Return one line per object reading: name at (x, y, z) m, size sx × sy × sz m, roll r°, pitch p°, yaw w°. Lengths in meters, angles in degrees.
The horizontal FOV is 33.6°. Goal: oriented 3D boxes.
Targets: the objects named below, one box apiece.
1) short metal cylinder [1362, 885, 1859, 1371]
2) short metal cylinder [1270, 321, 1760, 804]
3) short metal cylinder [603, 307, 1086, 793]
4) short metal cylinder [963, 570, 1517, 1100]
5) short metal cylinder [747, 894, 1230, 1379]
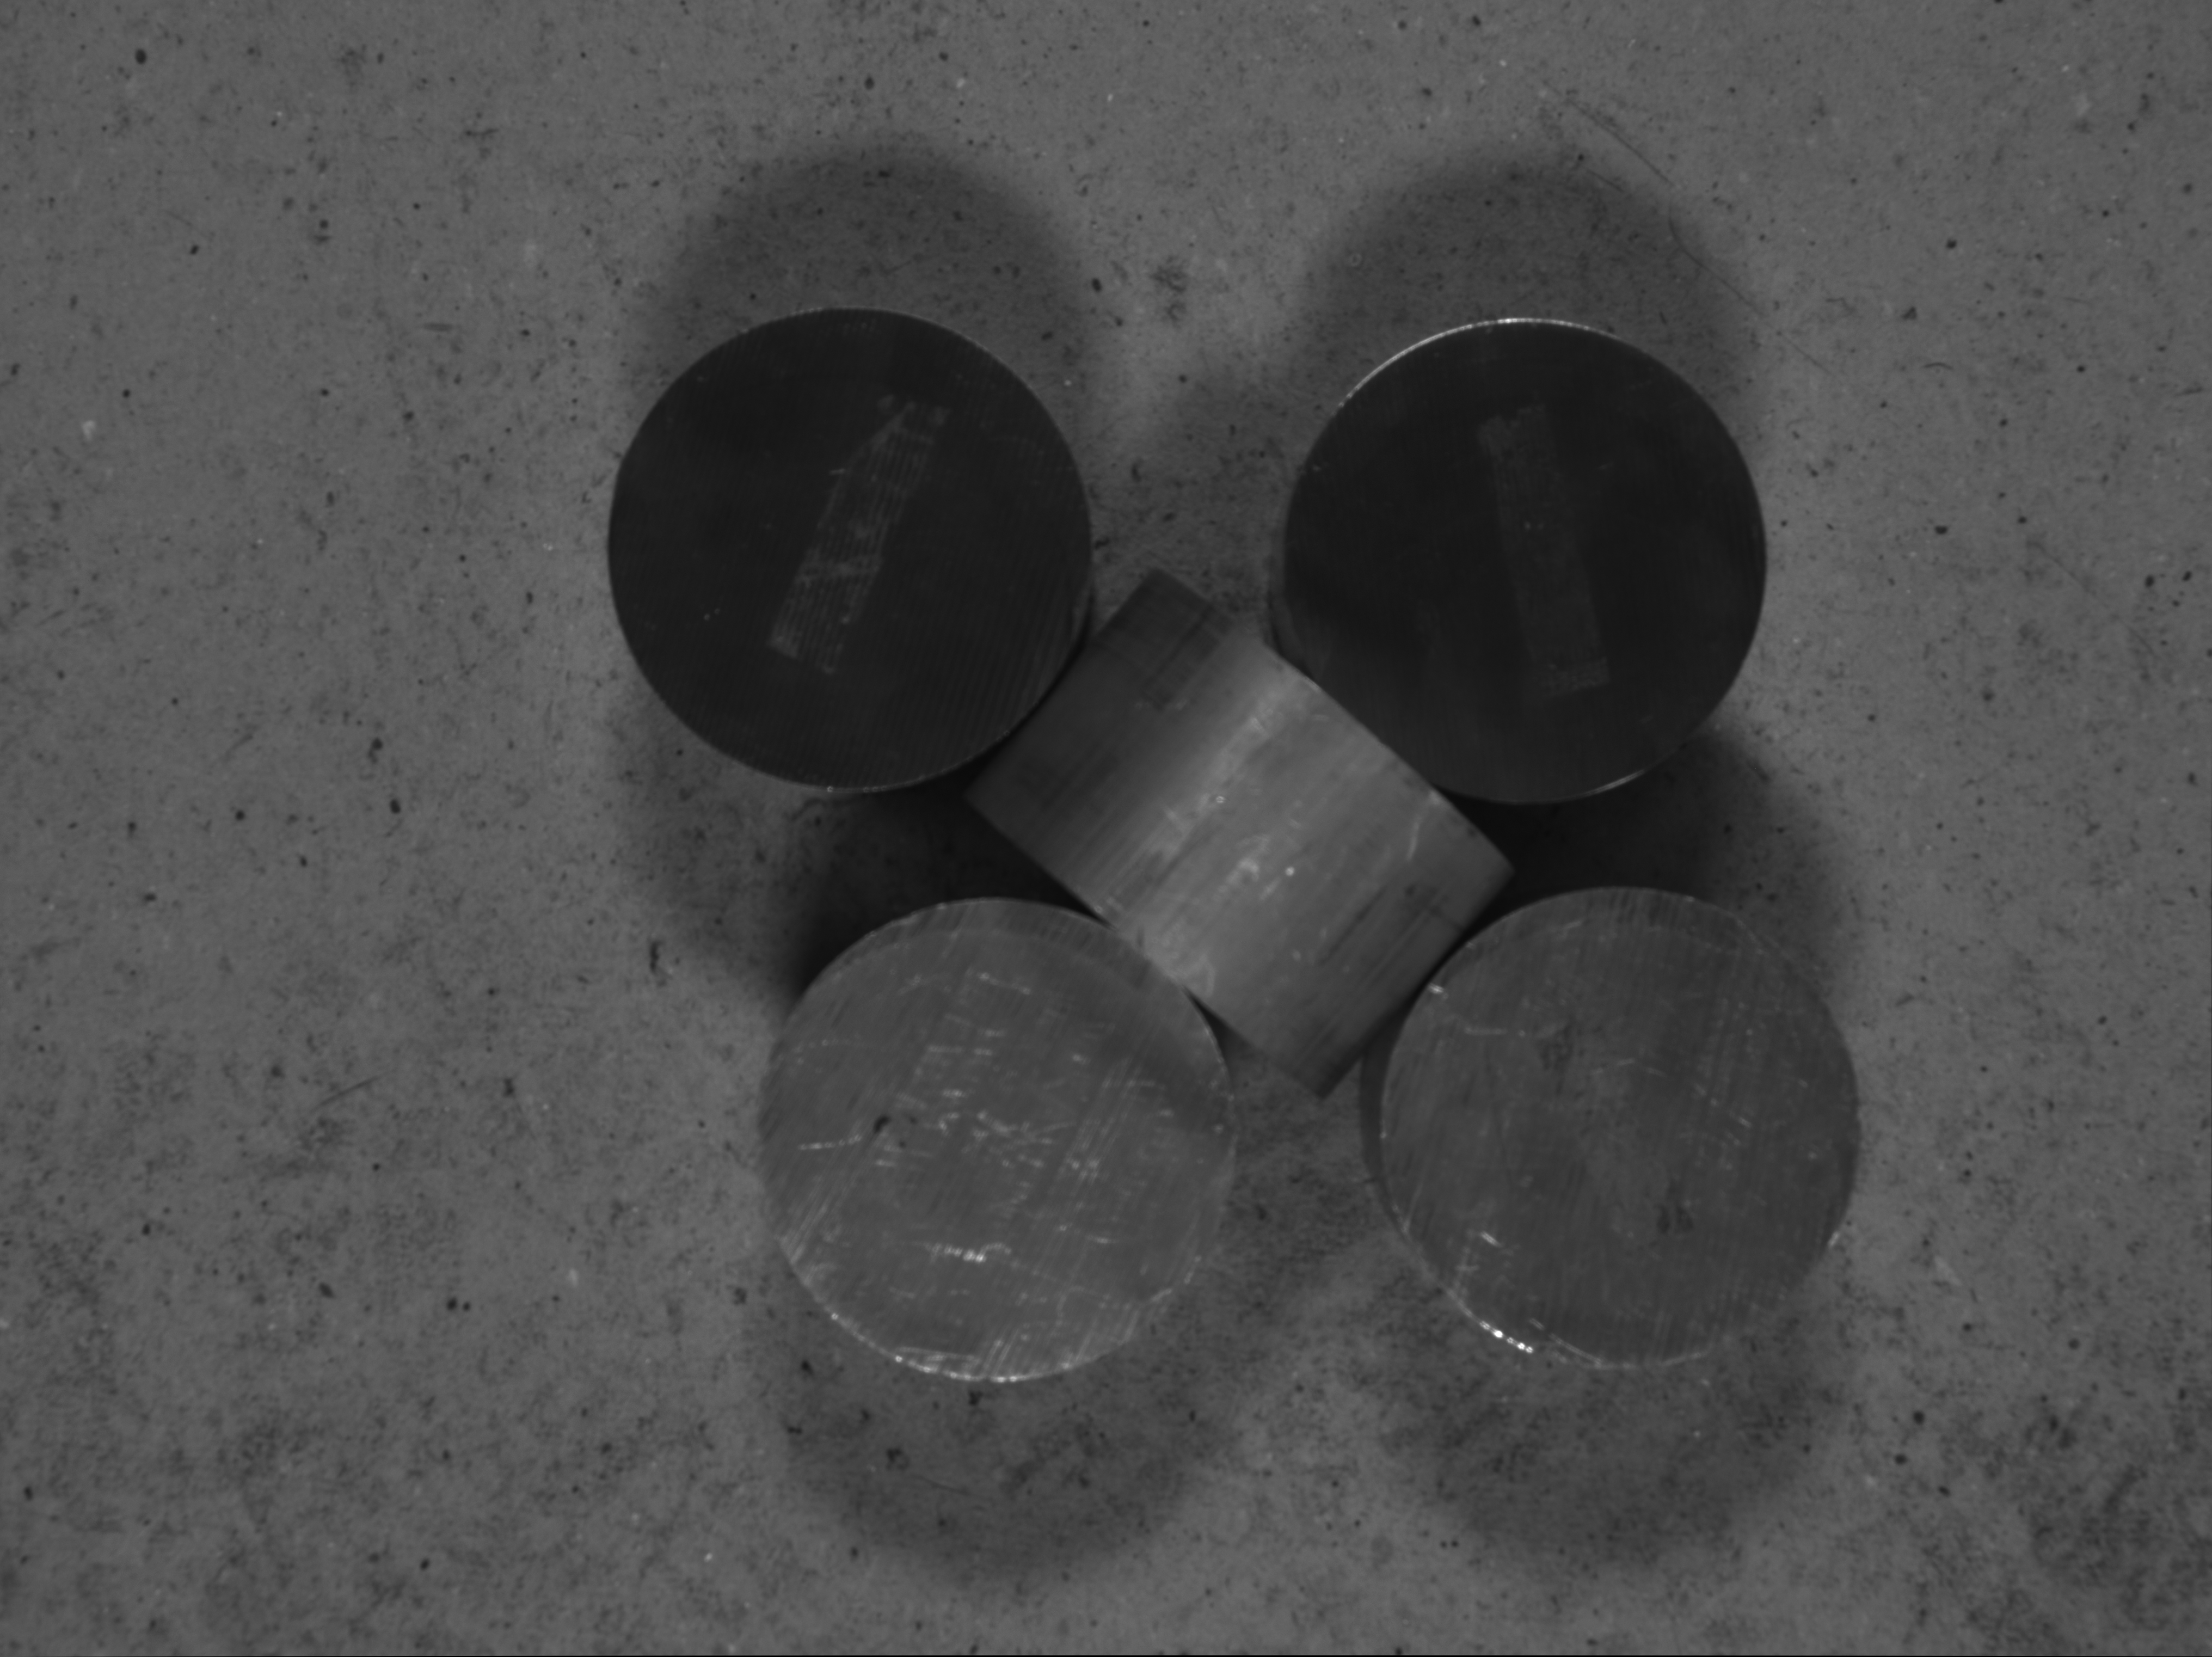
short metal cylinder at (0.085, 0.050, 0.632) m, size 0.080 × 0.050 × 0.080 m, roll 0°, pitch 90°, yaw 0°
short metal cylinder at (0.068, -0.044, 0.632) m, size 0.080 × 0.050 × 0.080 m, roll 0°, pitch 90°, yaw 0°
short metal cylinder at (-0.043, -0.046, 0.631) m, size 0.080 × 0.050 × 0.080 m, roll 0°, pitch 90°, yaw 0°
short metal cylinder at (0.022, 0.001, 0.618) m, size 0.080 × 0.080 × 0.050 m, roll 40°, pitch 90°, yaw 0°
short metal cylinder at (-0.020, 0.051, 0.631) m, size 0.080 × 0.050 × 0.080 m, roll 0°, pitch 90°, yaw 0°
